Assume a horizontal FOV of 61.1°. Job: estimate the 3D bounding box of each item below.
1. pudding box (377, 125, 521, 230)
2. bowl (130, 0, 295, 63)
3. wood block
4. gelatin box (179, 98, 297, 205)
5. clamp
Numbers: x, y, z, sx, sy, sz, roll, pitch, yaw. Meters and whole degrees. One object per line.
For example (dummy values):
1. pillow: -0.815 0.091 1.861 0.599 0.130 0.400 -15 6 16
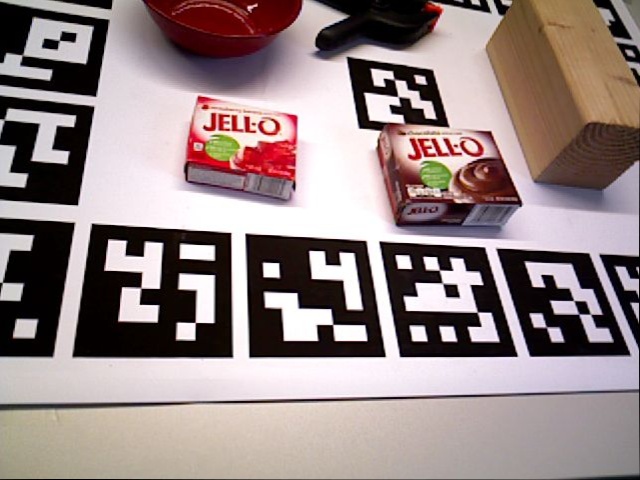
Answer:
1. pudding box: 0.113 -0.055 0.489 0.112 0.039 0.089 1 64 -15
2. bowl: -0.107 -0.223 0.518 0.160 0.056 0.159 8 60 -15
3. wood block: 0.258 -0.161 0.566 0.089 0.093 0.203 5 59 -16
4. gelatin box: -0.065 -0.073 0.446 0.088 0.031 0.072 10 59 -12
5. clamp: 0.038 -0.245 0.592 0.162 0.037 0.121 -7 62 -23
